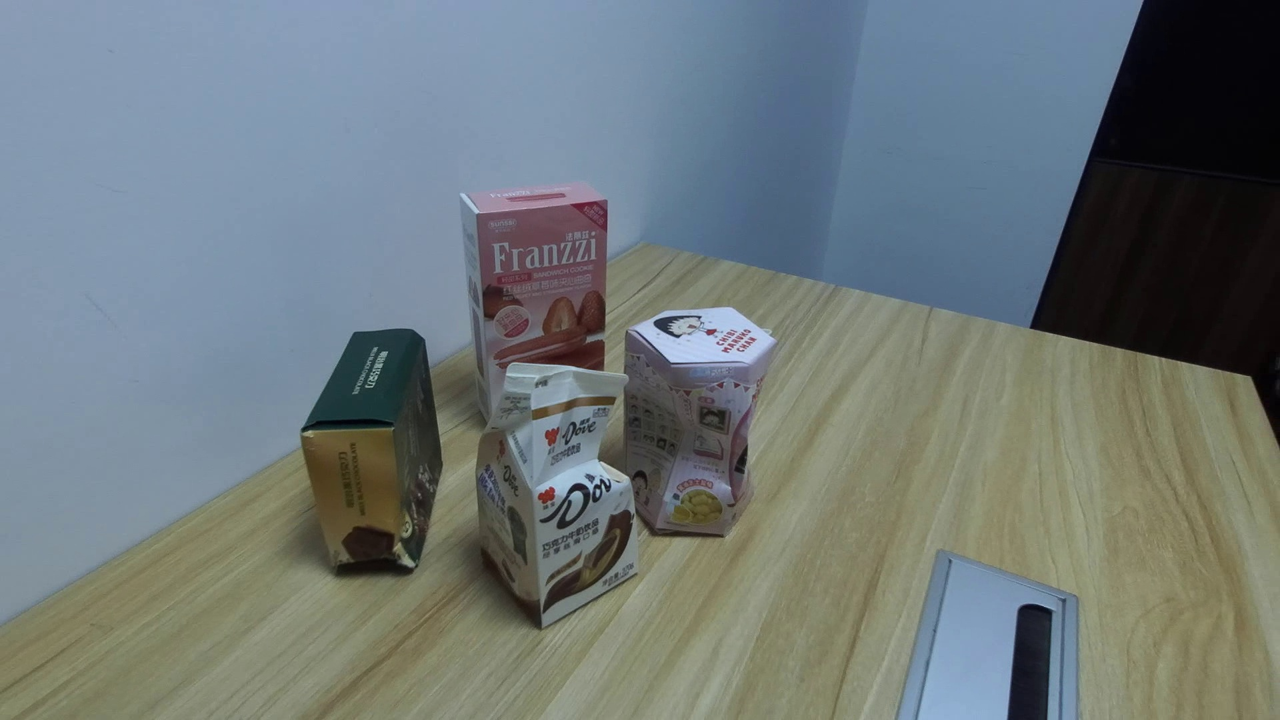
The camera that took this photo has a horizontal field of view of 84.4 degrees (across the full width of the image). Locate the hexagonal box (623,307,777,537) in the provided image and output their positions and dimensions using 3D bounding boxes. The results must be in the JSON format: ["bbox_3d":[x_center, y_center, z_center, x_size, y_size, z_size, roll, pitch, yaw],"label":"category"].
[{"bbox_3d":[0.035,0.042,0.460,0.093,0.134,0.088,-1,29,-7],"label":"hexagonal box"}]

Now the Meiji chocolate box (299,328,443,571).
[{"bbox_3d":[-0.165,0.055,0.448,0.058,0.116,0.122,0,29,-6],"label":"Meiji chocolate box"}]

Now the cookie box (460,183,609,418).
[{"bbox_3d":[-0.077,-0.037,0.542,0.096,0.185,0.048,-11,34,-22],"label":"cookie box"}]

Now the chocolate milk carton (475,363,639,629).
[{"bbox_3d":[-0.046,0.063,0.400,0.076,0.155,0.073,-20,38,-34],"label":"chocolate milk carton"}]
